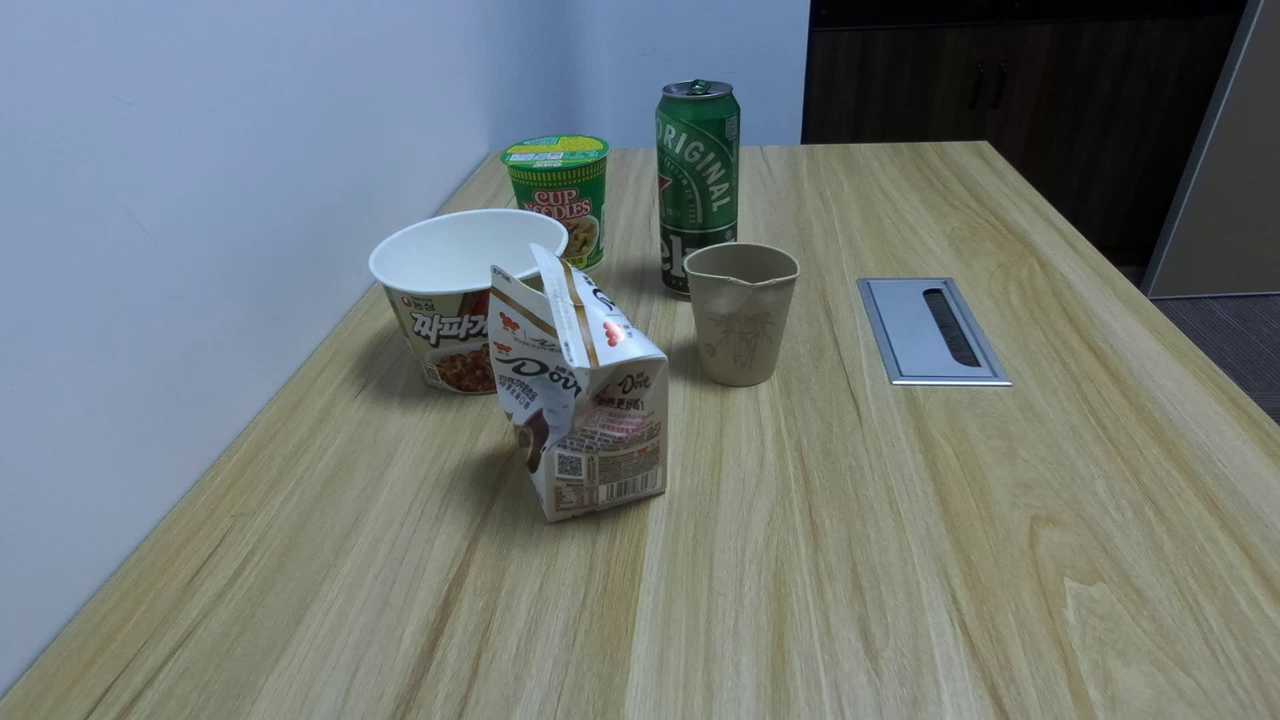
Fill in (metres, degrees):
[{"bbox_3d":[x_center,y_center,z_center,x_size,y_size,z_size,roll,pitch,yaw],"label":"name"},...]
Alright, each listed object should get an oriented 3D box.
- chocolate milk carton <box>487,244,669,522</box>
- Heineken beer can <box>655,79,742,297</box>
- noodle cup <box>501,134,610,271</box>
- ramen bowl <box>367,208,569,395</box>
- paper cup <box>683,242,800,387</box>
[{"bbox_3d":[-0.035,0.014,0.389,0.077,0.156,0.089,-19,49,-14],"label":"chocolate milk carton"},{"bbox_3d":[0.050,-0.136,0.586,0.067,0.169,0.067,-2,30,1],"label":"Heineken beer can"},{"bbox_3d":[-0.071,-0.142,0.656,0.097,0.110,0.097,-3,31,2],"label":"noodle cup"},{"bbox_3d":[-0.117,-0.044,0.534,0.140,0.095,0.140,-4,34,3],"label":"ramen bowl"},{"bbox_3d":[0.069,-0.031,0.496,0.074,0.081,0.068,-16,34,-20],"label":"paper cup"}]
